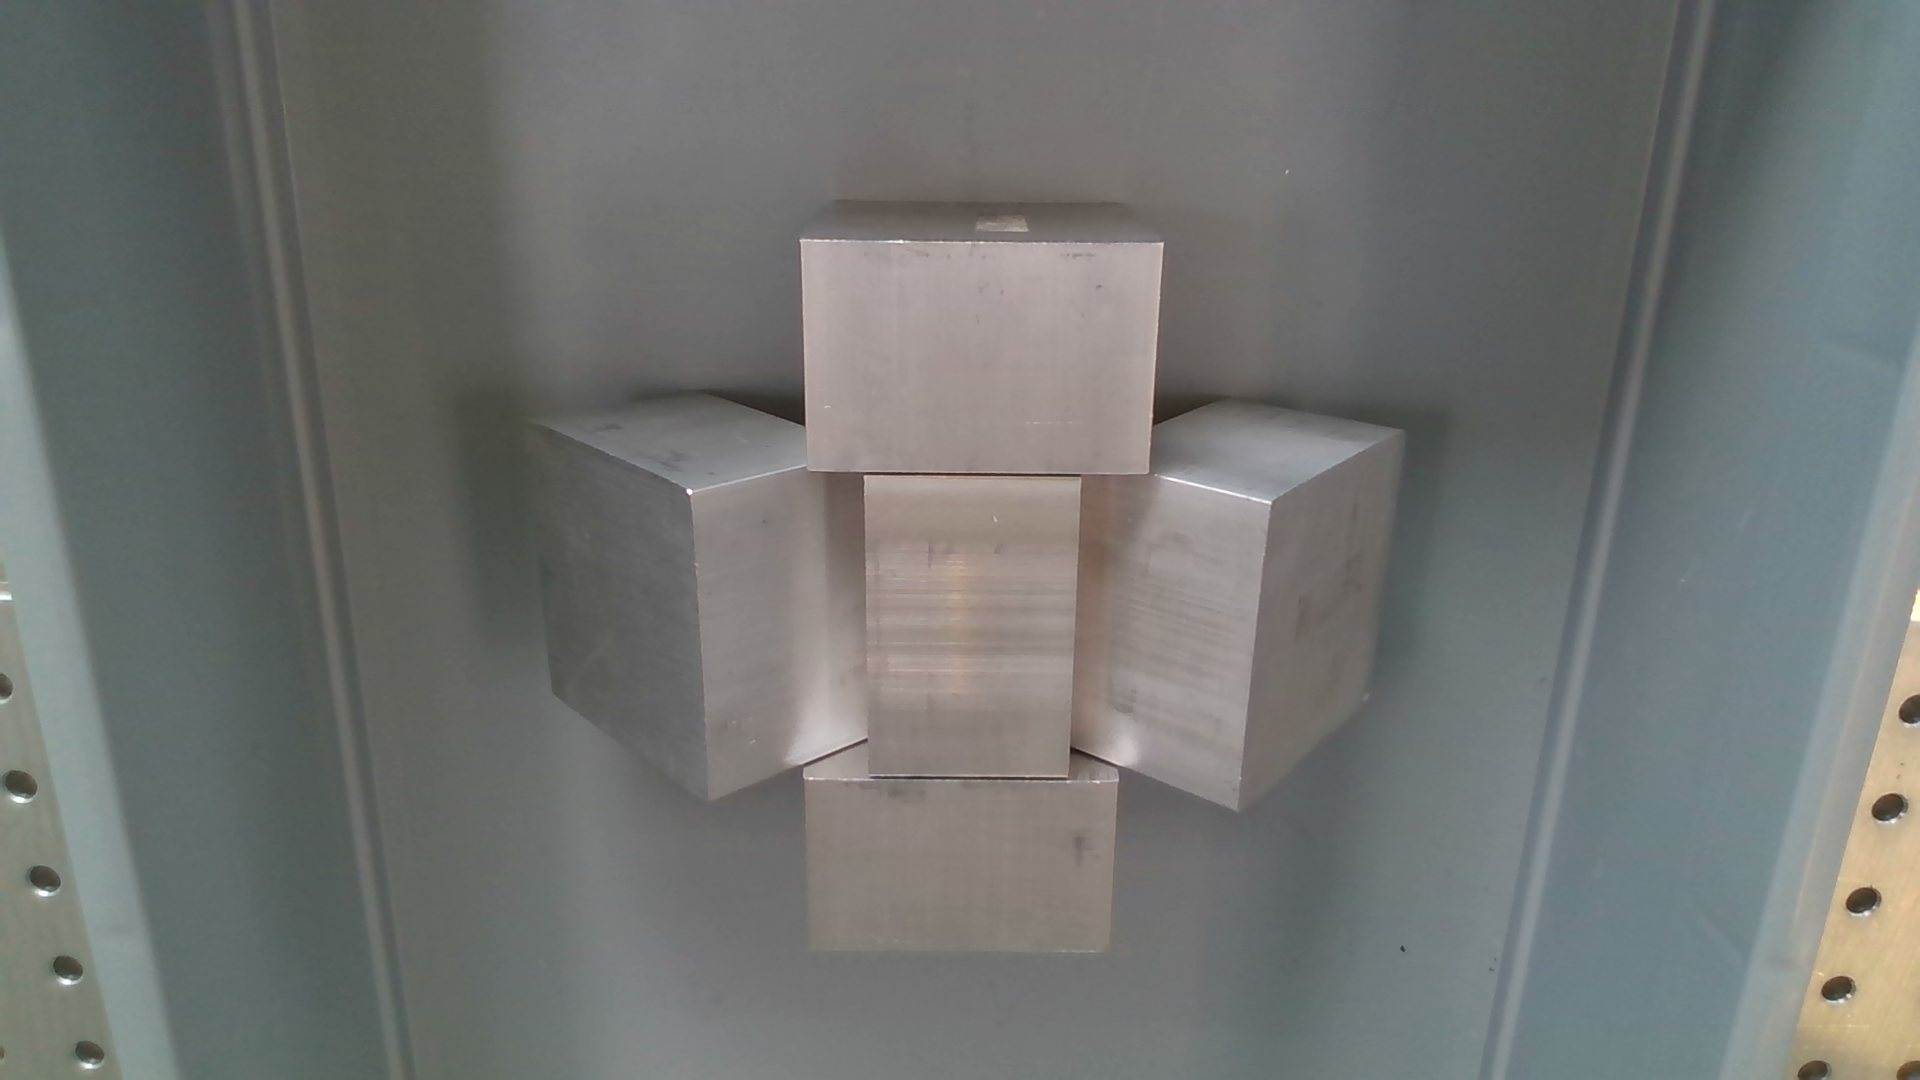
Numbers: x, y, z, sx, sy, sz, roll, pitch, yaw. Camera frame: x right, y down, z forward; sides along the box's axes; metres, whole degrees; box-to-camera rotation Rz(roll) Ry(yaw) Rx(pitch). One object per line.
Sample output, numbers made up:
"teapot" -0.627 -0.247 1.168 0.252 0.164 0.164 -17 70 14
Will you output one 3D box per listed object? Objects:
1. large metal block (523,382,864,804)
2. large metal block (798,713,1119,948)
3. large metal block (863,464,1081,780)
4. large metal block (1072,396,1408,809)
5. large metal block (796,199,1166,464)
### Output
"large metal block" -0.069 0.010 0.360 0.050 0.080 0.080 -18 118 -39
"large metal block" -0.001 0.069 0.389 0.080 0.080 0.050 1 110 0
"large metal block" 0.002 0.008 0.367 0.050 0.080 0.080 1 110 0
"large metal block" 0.073 0.011 0.361 0.050 0.080 0.080 16 115 34
"large metal block" 0.004 -0.055 0.343 0.080 0.080 0.050 1 110 0
